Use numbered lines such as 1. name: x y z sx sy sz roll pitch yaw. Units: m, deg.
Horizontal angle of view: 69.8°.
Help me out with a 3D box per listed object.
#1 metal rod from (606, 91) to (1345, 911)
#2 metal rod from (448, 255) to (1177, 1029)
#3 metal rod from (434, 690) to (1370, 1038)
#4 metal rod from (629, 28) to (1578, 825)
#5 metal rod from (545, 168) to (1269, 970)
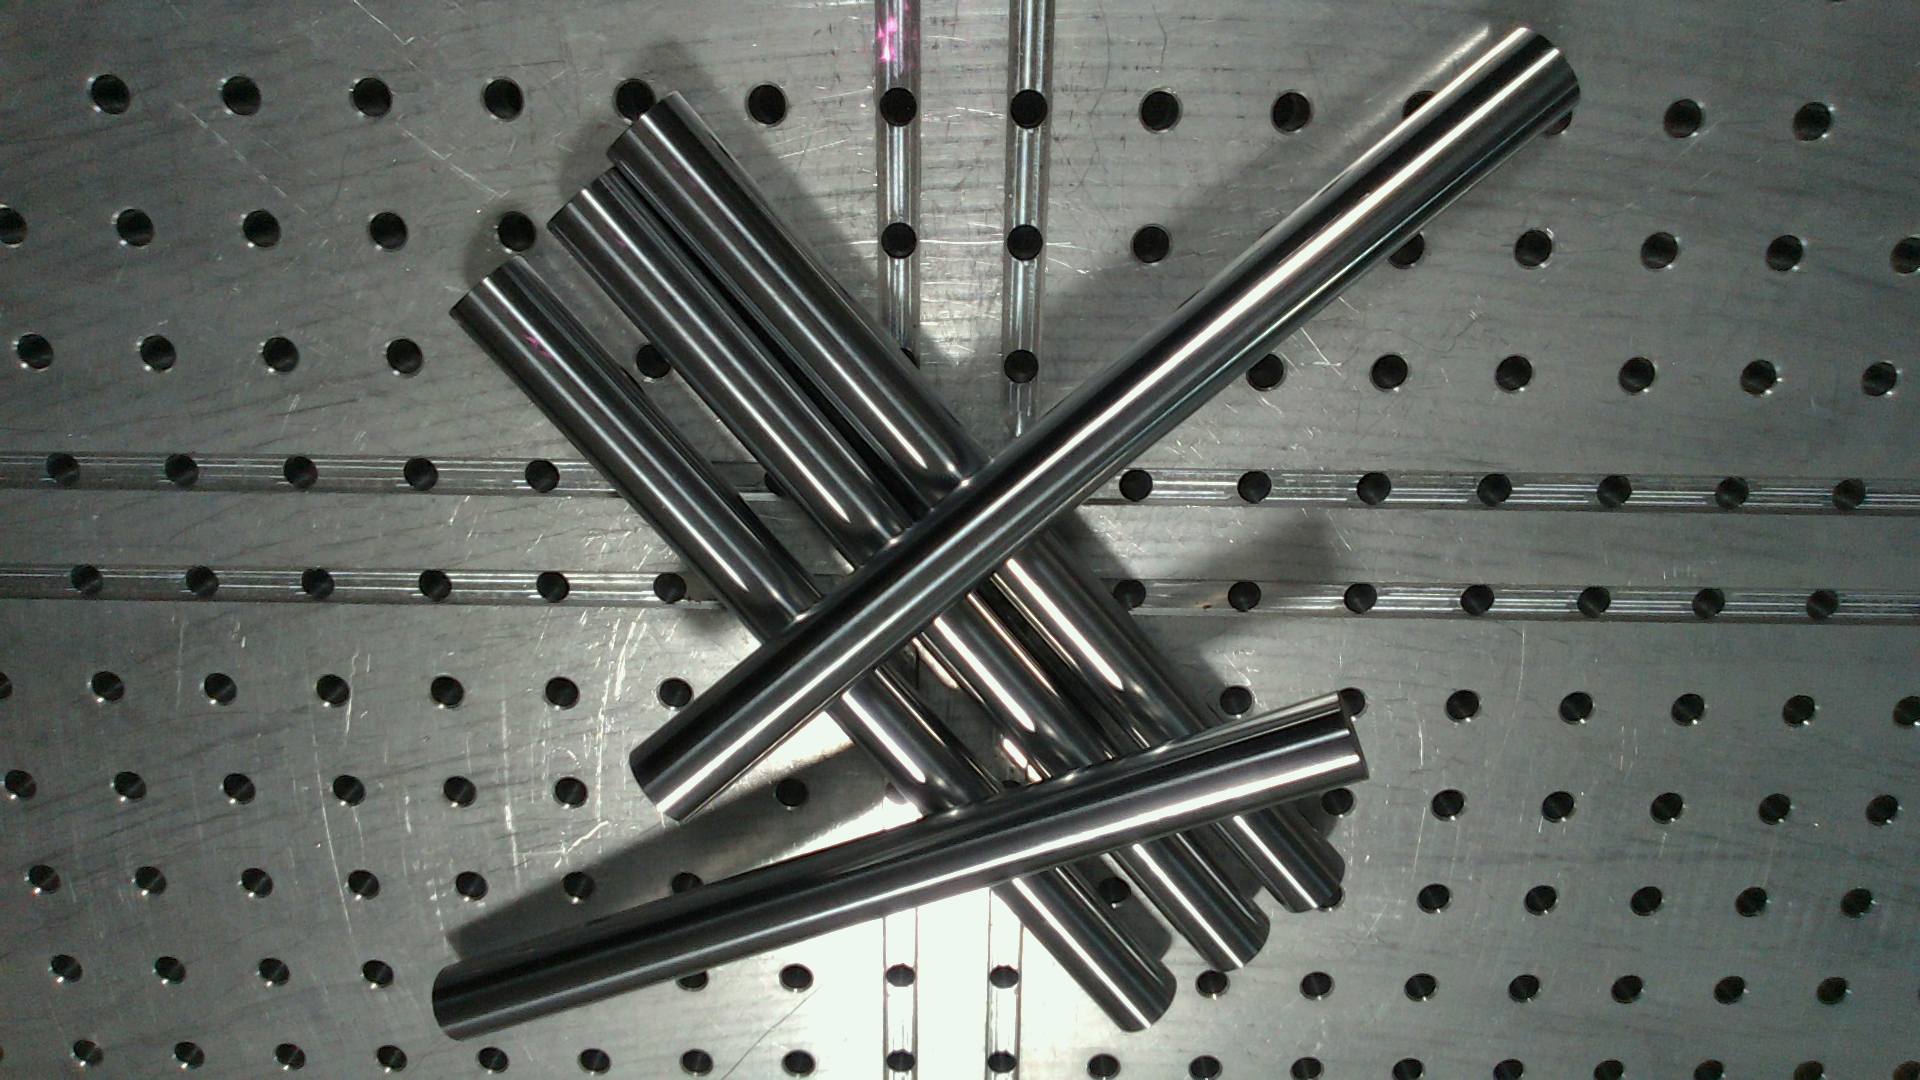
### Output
1. metal rod: 0.015 0.000 0.396 0.025 0.025 0.300 -38 106 13
2. metal rod: -0.034 0.041 0.411 0.025 0.025 0.300 -37 106 13
3. metal rod: -0.029 0.102 0.412 0.299 0.025 0.025 -20 109 16
4. metal rod: 0.034 -0.026 0.365 0.300 0.025 0.025 -39 106 5
5. metal rod: -0.005 0.019 0.403 0.025 0.025 0.300 -37 106 13
